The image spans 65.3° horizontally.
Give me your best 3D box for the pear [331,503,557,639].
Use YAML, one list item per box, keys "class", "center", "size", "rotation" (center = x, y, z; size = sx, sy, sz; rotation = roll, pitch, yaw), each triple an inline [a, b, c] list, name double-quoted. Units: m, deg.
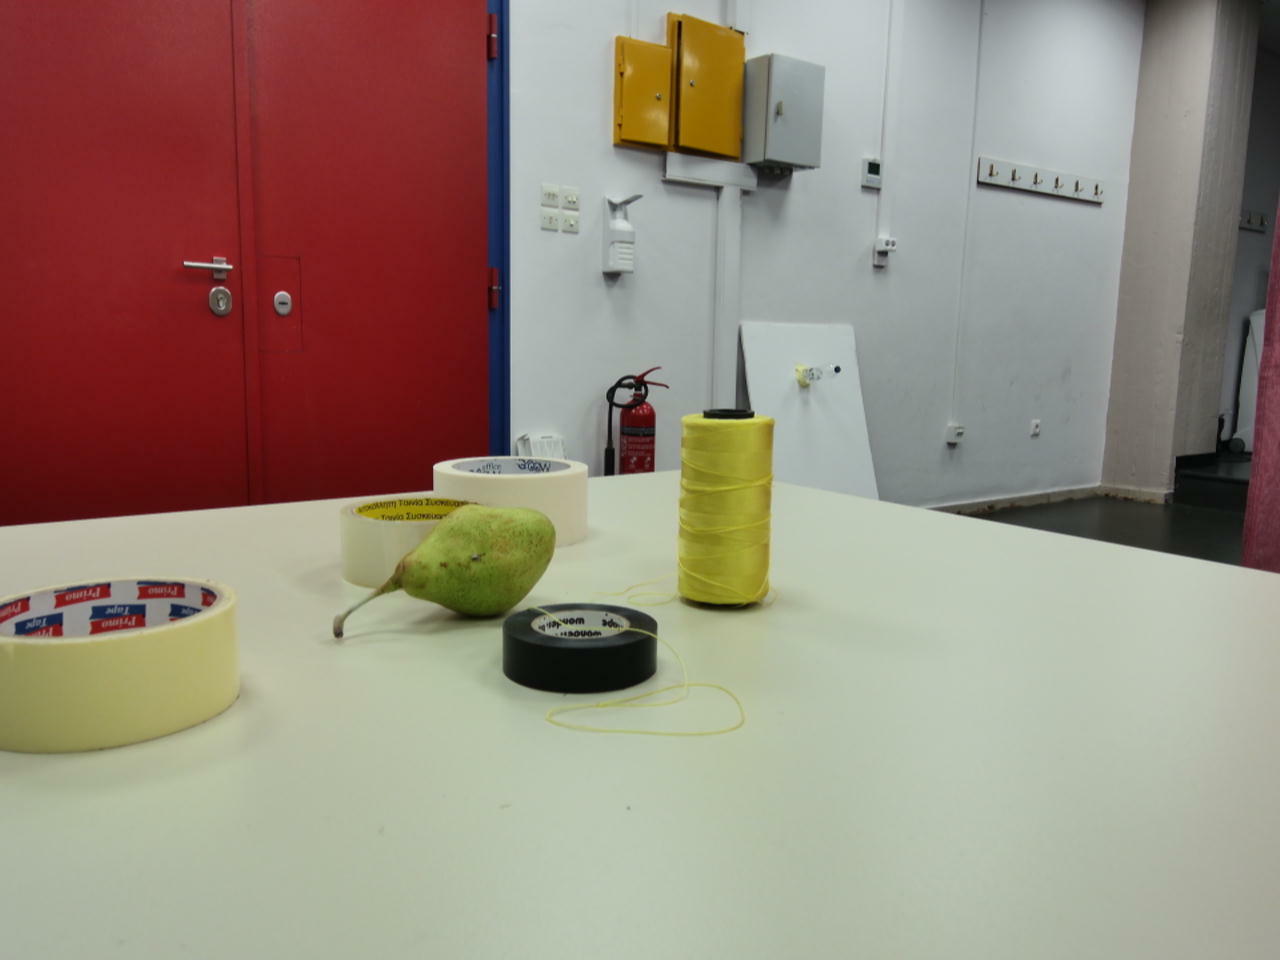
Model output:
- class: "pear"
  center: [-0.097, 0.041, 0.495]
  size: [0.111, 0.056, 0.056]
  rotation: [-2, 7, -22]
